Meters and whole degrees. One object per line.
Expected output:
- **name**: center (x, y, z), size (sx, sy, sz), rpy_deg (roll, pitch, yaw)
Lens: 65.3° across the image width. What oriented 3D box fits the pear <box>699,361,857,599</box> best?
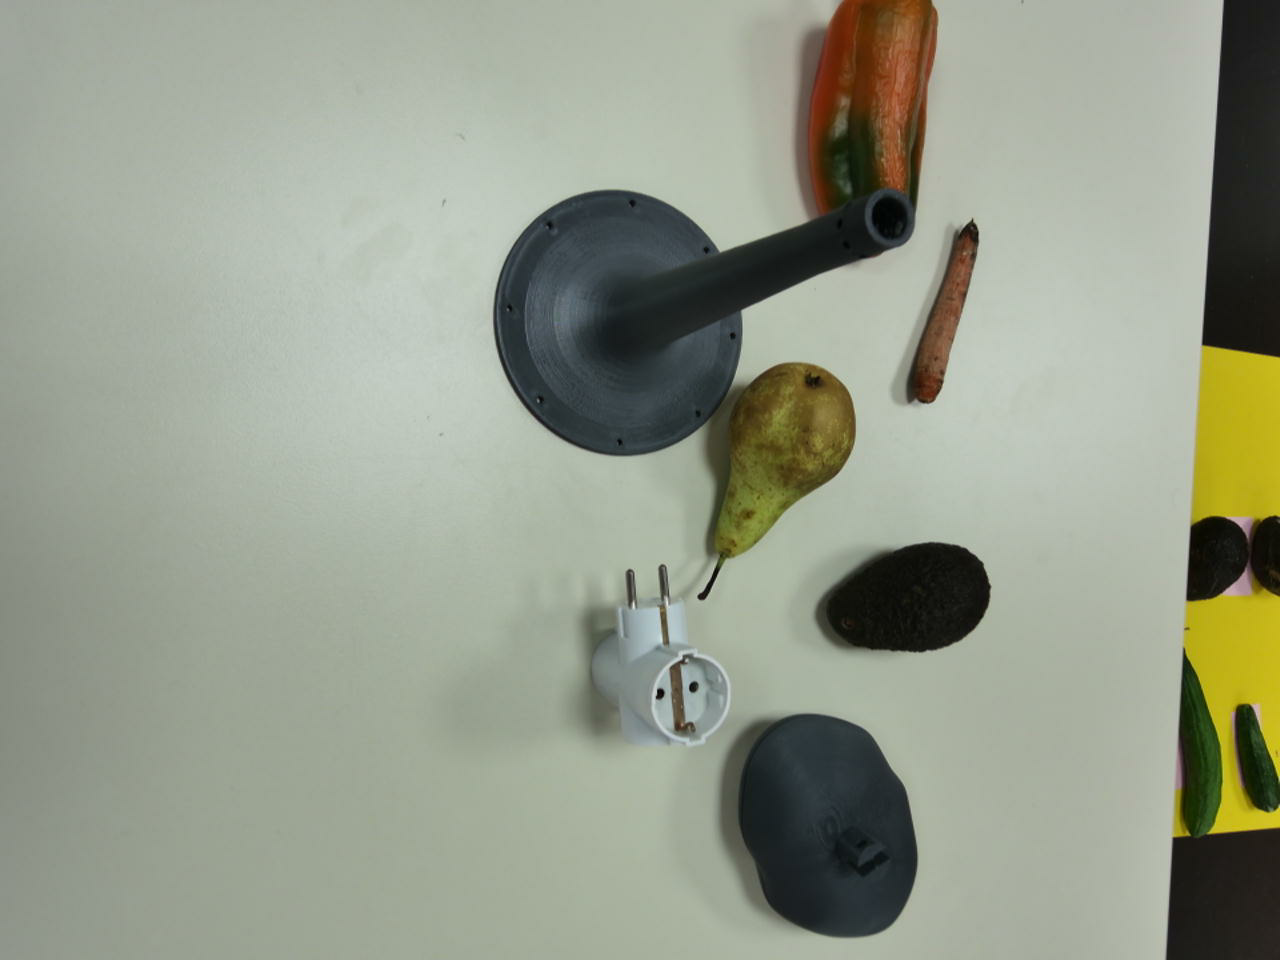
- **pear**: center (0.080, 0.004, 0.570), size (0.071, 0.075, 0.144), rpy_deg (13, 86, -22)
